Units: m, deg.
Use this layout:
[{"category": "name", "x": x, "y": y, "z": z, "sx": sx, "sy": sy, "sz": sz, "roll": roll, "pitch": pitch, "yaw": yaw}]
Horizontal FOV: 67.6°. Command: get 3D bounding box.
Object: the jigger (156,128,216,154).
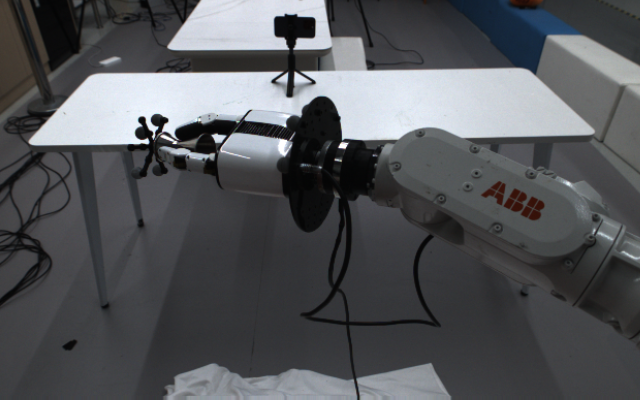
[{"category": "jigger", "x": -0.171, "y": -0.070, "z": 0.630, "sx": 0.071, "sy": 0.043, "sz": 0.043, "roll": 6, "pitch": 34, "yaw": 22}]
